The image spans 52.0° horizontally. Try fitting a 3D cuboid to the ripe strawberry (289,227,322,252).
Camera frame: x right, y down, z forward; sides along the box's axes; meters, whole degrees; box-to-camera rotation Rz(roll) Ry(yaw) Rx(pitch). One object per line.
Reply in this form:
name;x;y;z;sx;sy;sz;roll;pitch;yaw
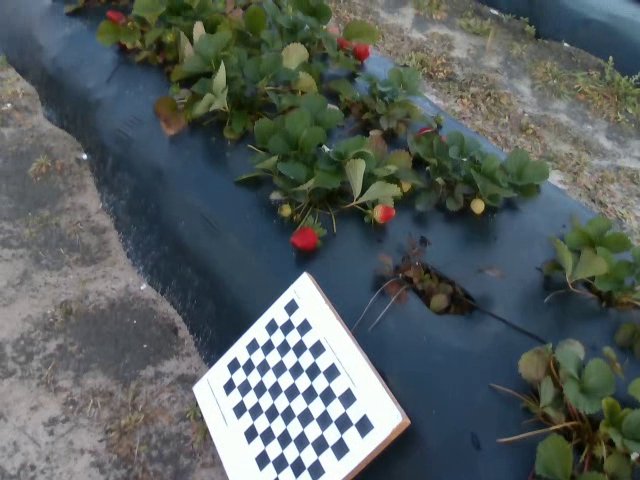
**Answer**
ripe strawberry;-0.026;0.004;1.044;0.045;0.042;0.054;-10;0;36
